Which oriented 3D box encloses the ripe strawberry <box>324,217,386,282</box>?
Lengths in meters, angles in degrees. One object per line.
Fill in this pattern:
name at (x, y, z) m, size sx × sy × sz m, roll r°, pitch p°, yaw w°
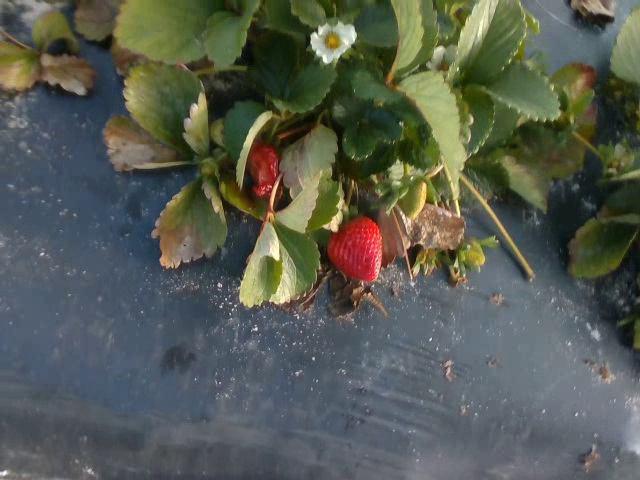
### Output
ripe strawberry at (0.017, 0.007, 0.257) m, size 0.031 × 0.030 × 0.026 m, roll -22°, pitch -19°, yaw -7°
